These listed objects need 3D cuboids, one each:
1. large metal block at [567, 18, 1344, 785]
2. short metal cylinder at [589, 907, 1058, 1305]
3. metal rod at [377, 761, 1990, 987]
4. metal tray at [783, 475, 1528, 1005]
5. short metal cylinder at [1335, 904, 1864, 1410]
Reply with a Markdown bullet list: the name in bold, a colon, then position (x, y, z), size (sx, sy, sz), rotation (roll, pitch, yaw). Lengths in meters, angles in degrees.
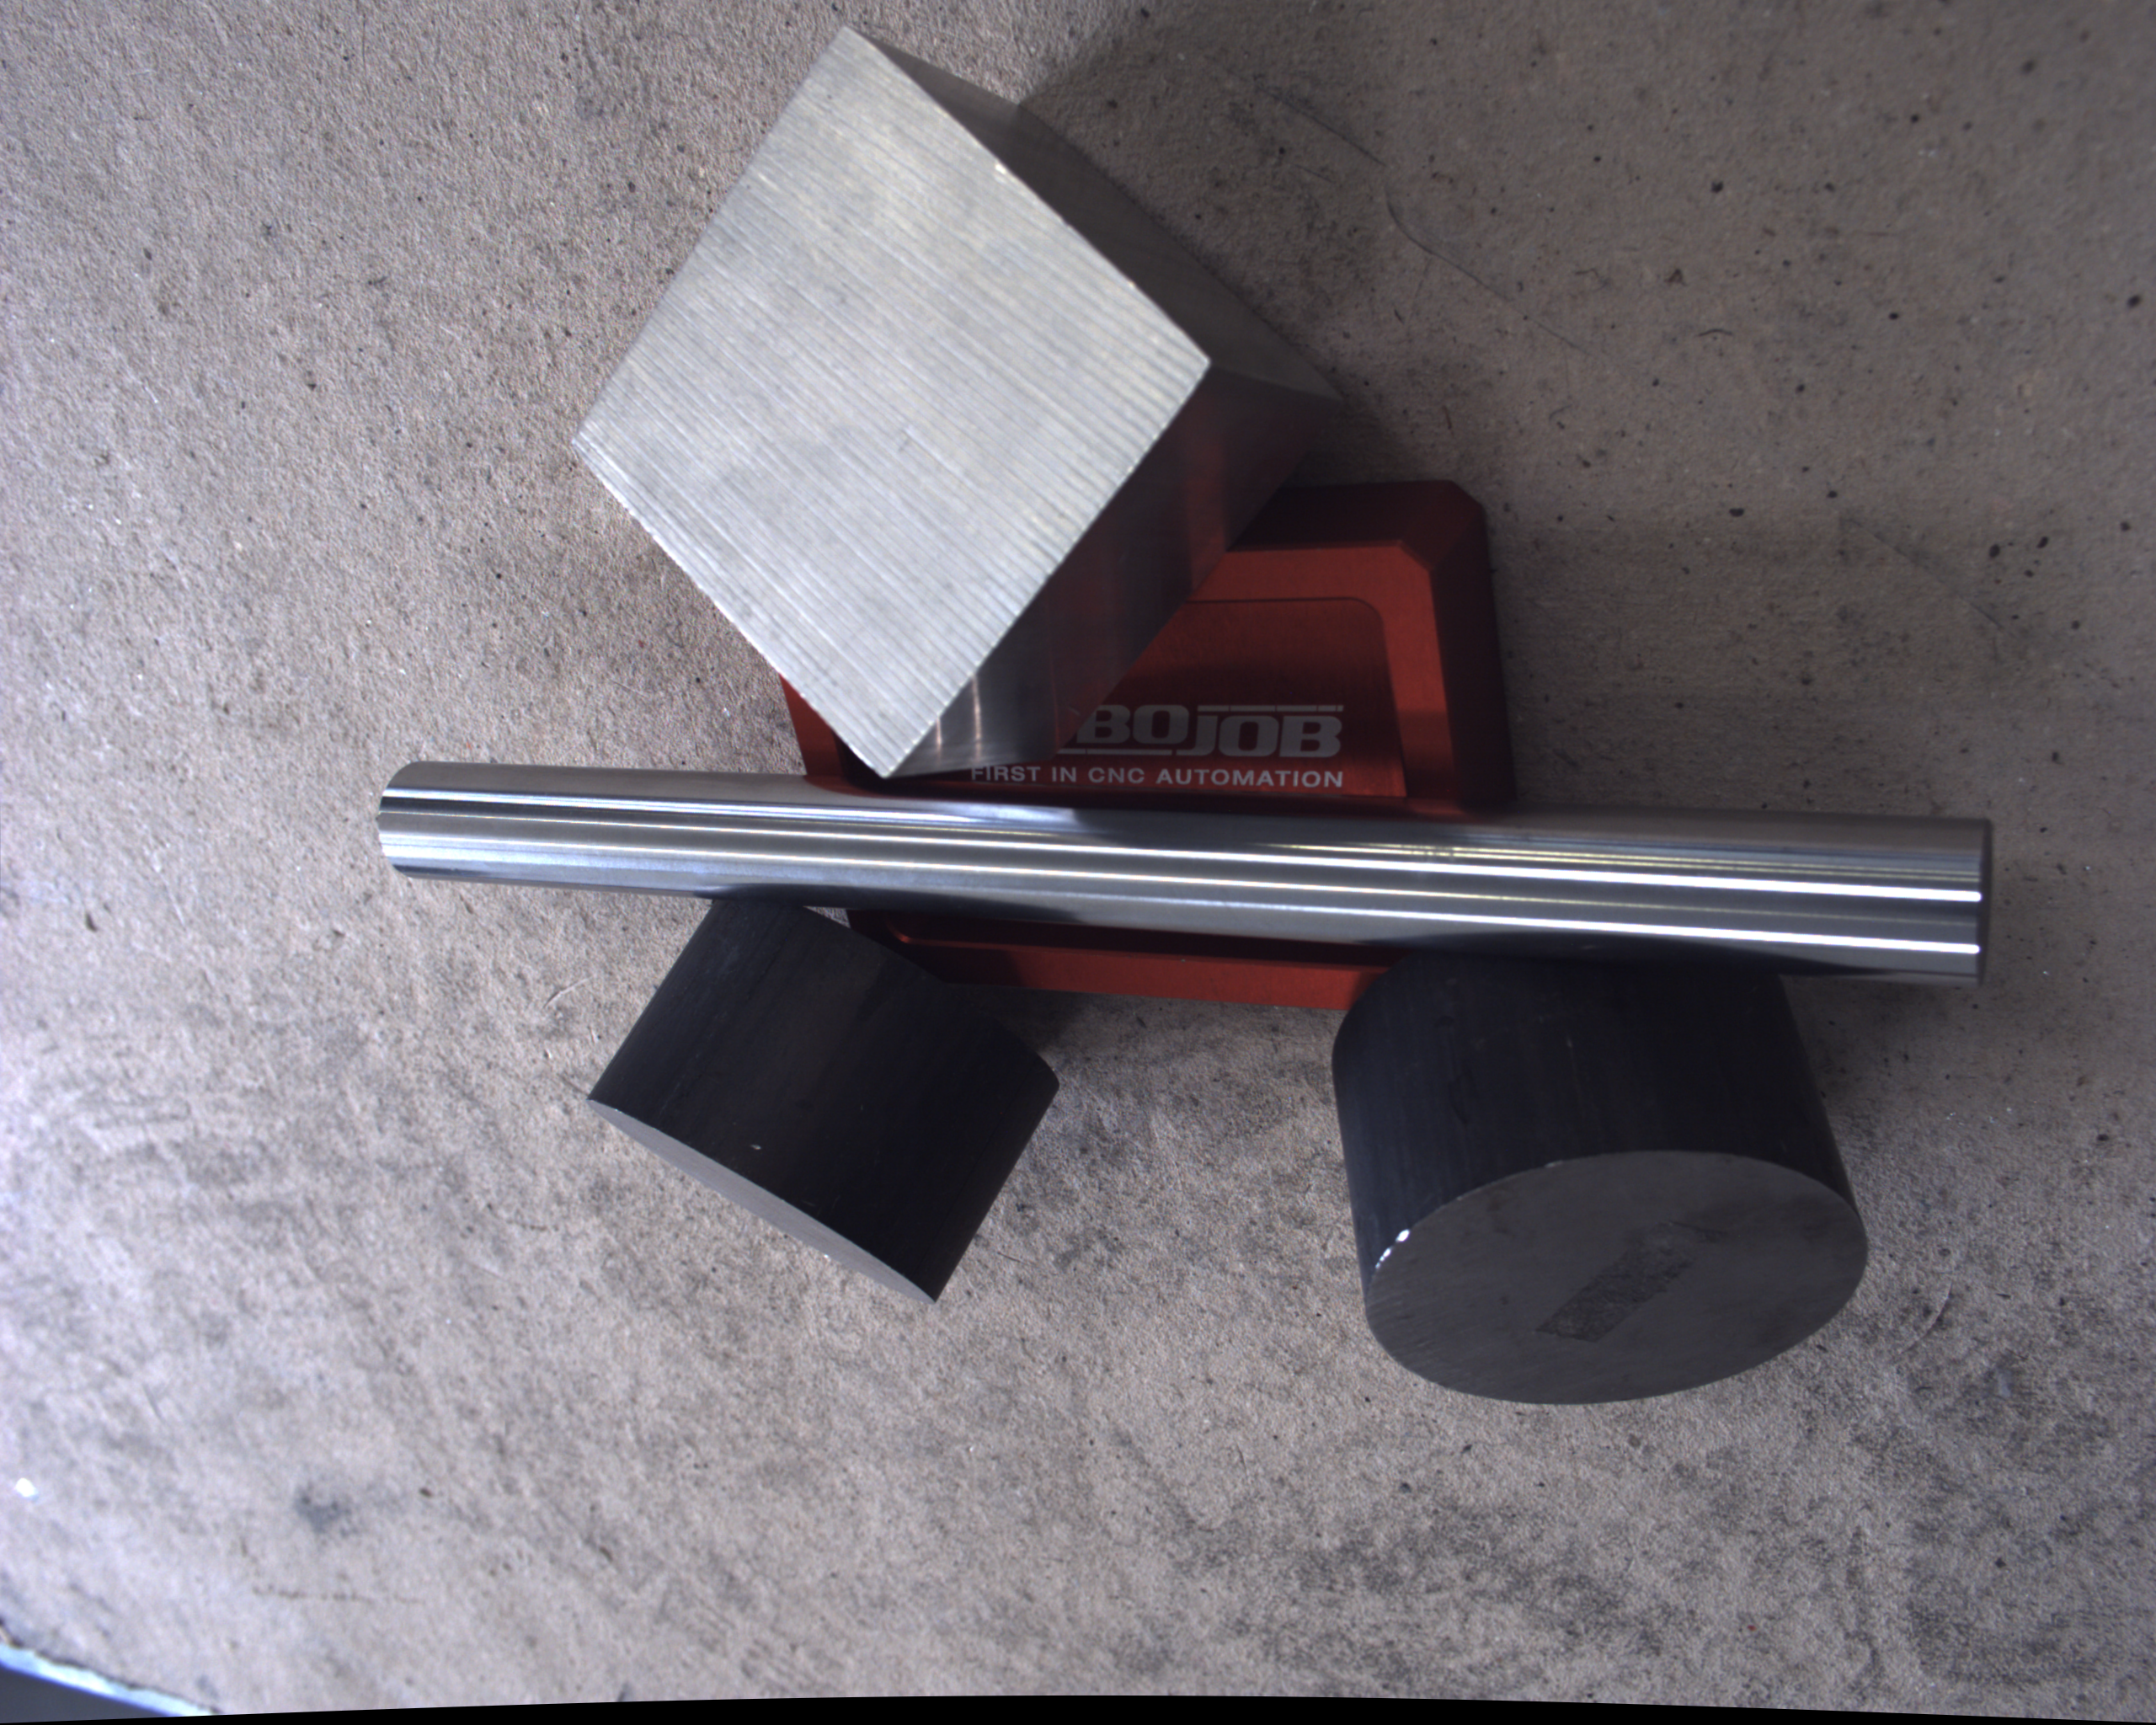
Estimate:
- **large metal block**: position (-0.020, -0.070, 0.332), size (0.080, 0.050, 0.080), rotation (47, 114, 16)
- **short metal cylinder**: position (-0.051, 0.048, 0.425), size (0.080, 0.050, 0.080), rotation (28, 163, 9)
- **metal rod**: position (-0.003, -0.002, 0.370), size (0.300, 0.025, 0.025), rotation (3, 120, 26)
- **metal tray**: position (0.012, -0.021, 0.386), size (0.130, 0.030, 0.089), rotation (2, 120, 27)
- **short metal cylinder**: position (0.087, 0.052, 0.357), size (0.081, 0.050, 0.080), rotation (-1, 137, 0)
